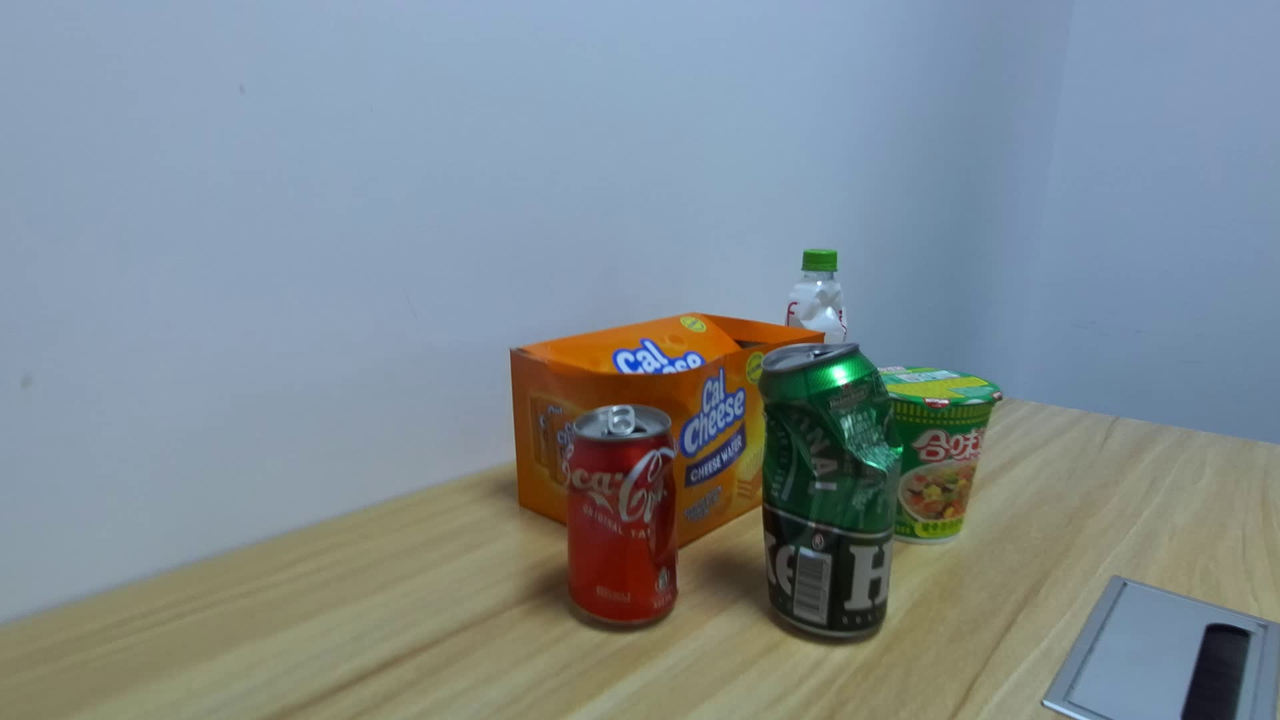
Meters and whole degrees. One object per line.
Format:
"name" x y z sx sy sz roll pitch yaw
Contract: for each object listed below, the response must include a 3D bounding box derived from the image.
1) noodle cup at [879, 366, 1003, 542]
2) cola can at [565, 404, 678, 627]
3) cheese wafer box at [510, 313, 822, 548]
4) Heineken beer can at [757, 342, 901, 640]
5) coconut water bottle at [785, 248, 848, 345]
"noodle cup" 0.199 0.068 0.510 0.097 0.110 0.097 1 14 0
"cola can" -0.010 0.087 0.409 0.066 0.117 0.066 9 17 34
"cheese wafer box" 0.028 0.047 0.571 0.151 0.132 0.231 13 17 41
"Heineken beer can" 0.107 0.071 0.395 0.078 0.159 0.067 -3 8 19
"coconut water bottle" 0.161 -0.006 0.655 0.069 0.186 0.069 4 8 0
